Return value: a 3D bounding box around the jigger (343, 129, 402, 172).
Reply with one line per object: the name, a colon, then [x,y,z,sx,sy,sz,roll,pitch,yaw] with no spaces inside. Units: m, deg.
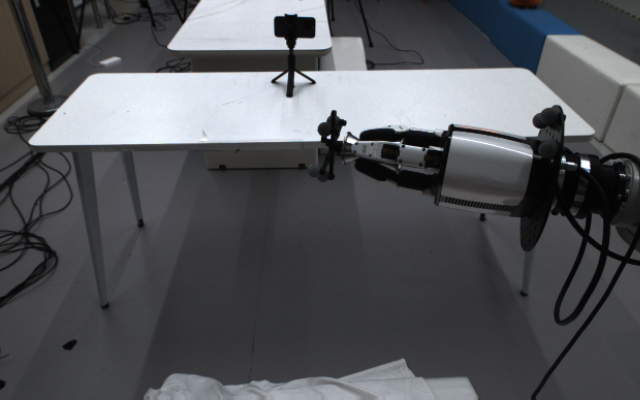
jigger: [0.066,-0.062,0.574,0.071,0.043,0.043,10,35,16]
